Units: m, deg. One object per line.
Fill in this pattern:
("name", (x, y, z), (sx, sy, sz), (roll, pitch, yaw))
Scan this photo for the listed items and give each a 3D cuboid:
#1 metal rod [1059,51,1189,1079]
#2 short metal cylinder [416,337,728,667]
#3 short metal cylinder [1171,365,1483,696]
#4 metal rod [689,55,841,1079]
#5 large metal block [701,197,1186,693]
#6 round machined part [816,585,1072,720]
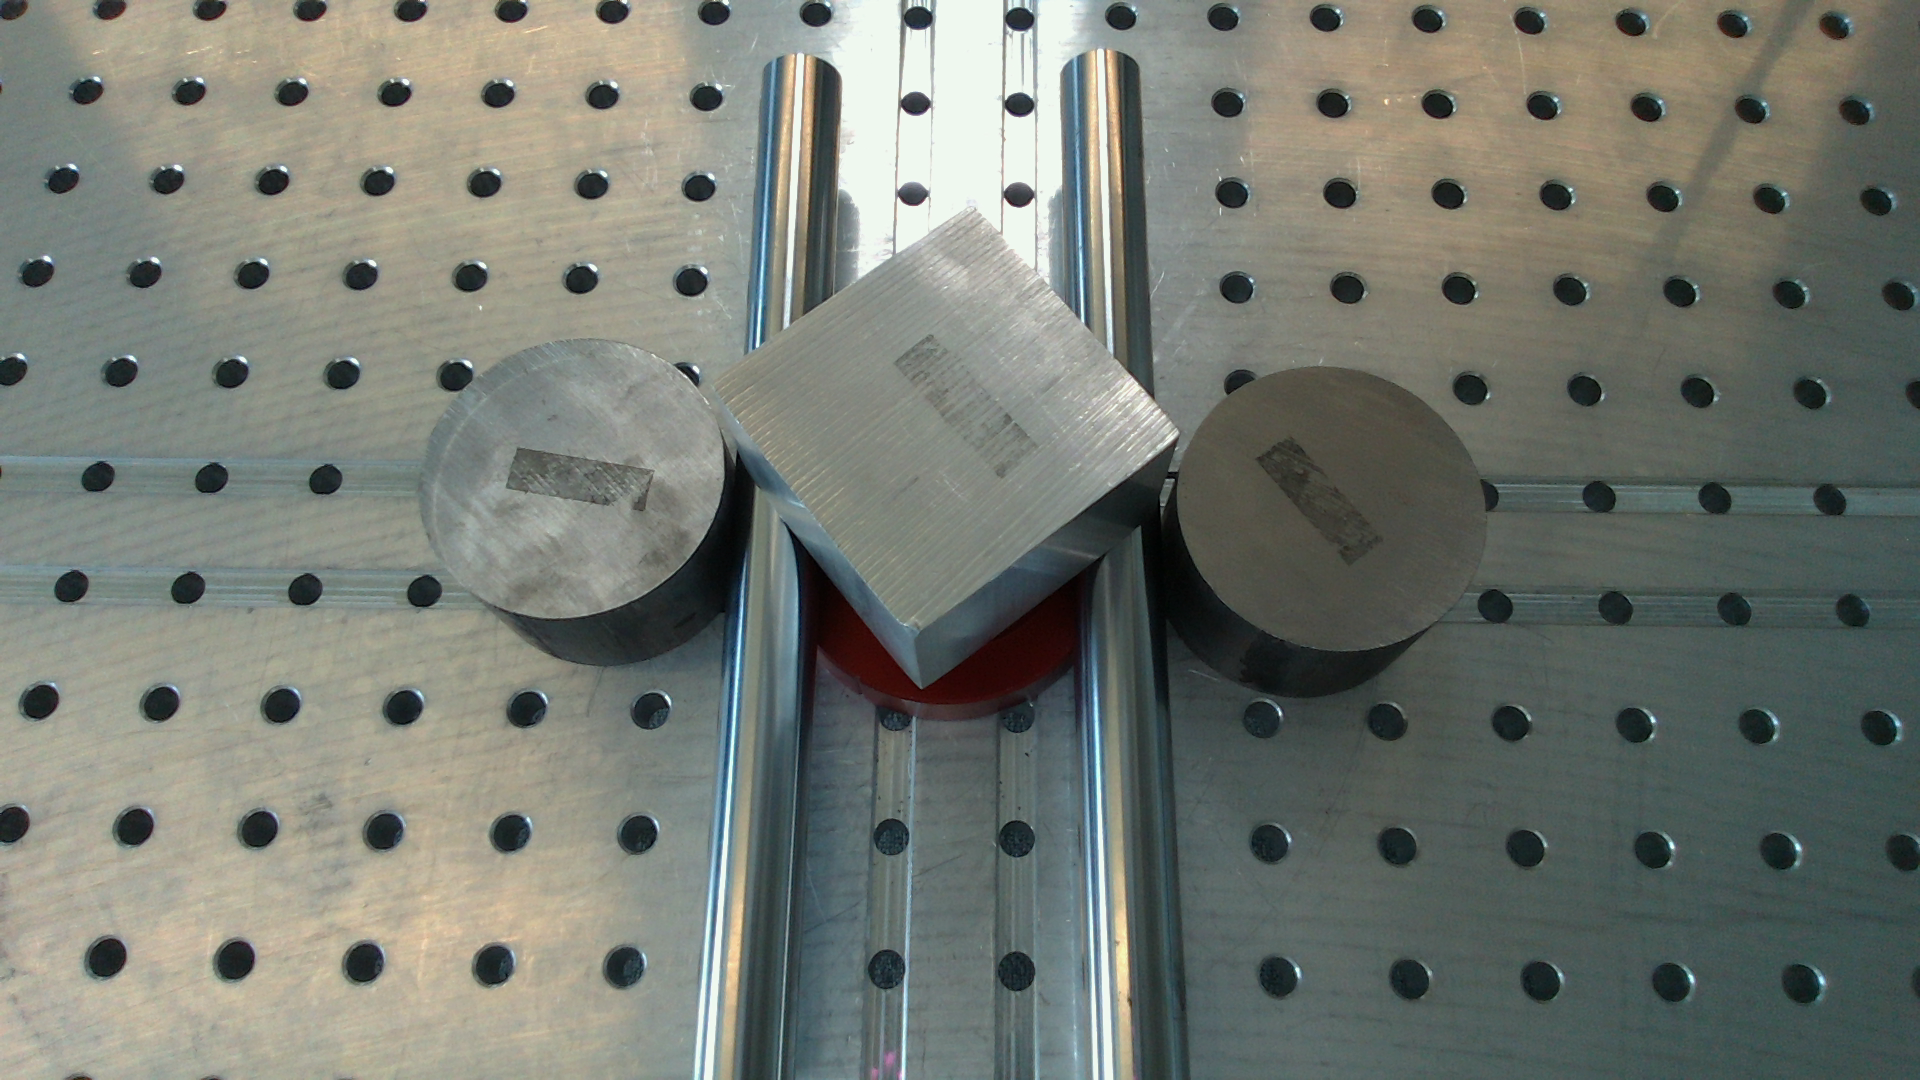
("metal rod", (0.042, -0.003, 0.376), (0.025, 0.025, 0.300), (0, 70, 0))
("short metal cylinder", (-0.103, -0.010, 0.387), (0.080, 0.050, 0.080), (0, 70, 0))
("short metal cylinder", (0.097, -0.001, 0.384), (0.080, 0.050, 0.080), (0, 70, 0))
("metal rod", (-0.051, -0.001, 0.375), (0.025, 0.025, 0.300), (0, 70, 0))
("large metal block", (-0.004, -0.023, 0.342), (0.080, 0.050, 0.080), (-36, 74, -12))
("round machined part", (-0.004, -0.002, 0.389), (0.098, 0.042, 0.098), (0, 70, 0))
